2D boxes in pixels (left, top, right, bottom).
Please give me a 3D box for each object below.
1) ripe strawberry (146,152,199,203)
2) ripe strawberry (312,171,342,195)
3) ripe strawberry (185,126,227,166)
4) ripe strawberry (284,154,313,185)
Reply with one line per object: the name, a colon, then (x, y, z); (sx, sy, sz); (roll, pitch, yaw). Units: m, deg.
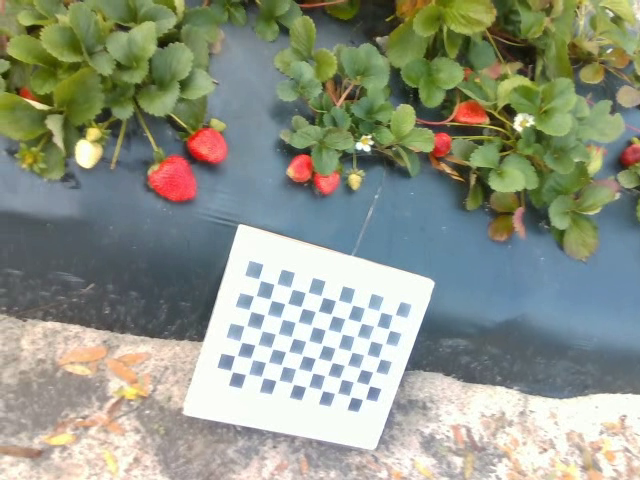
ripe strawberry: (-0.185, -0.077, 0.915); (0.058, 0.065, 0.044); (-42, 3, 4)
ripe strawberry: (0.011, -0.084, 0.978); (0.043, 0.041, 0.049); (11, 39, -16)
ripe strawberry: (-0.146, -0.124, 0.941); (0.060, 0.051, 0.051); (46, 7, 29)
ripe strawberry: (-0.030, -0.100, 0.976); (0.038, 0.047, 0.053); (17, 27, 41)
